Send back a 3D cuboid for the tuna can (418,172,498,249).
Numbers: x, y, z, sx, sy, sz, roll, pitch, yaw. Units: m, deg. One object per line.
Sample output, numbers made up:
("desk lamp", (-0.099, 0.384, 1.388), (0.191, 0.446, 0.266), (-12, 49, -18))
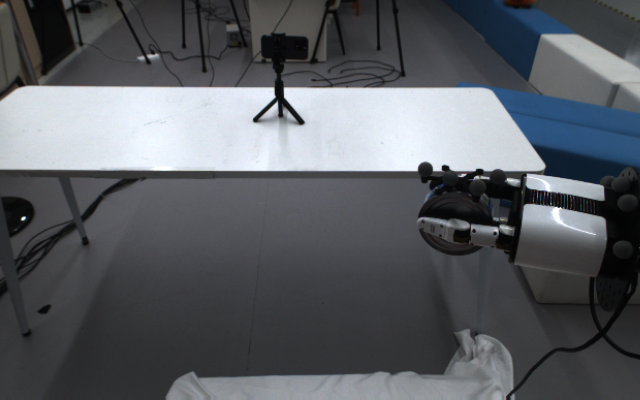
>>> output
("tuna can", (0.165, 0.018, 0.579), (0.085, 0.085, 0.034), (13, 29, 15))
